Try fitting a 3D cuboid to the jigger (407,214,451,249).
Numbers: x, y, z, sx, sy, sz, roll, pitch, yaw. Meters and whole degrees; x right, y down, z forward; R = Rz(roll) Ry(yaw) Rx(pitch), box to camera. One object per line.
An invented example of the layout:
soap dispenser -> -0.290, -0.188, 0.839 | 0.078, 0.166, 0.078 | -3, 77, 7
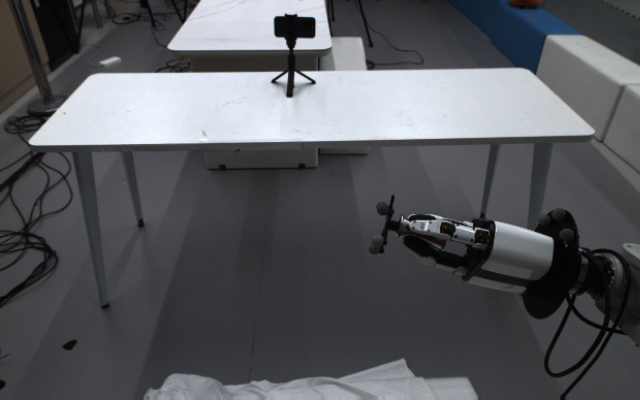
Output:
jigger -> 0.154, 0.043, 0.704 | 0.071, 0.043, 0.043 | 13, 36, 3
